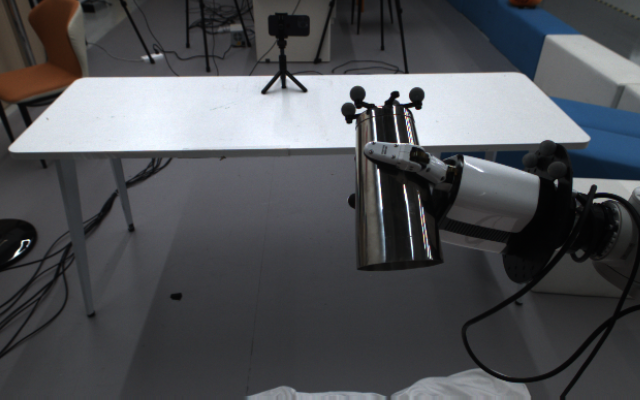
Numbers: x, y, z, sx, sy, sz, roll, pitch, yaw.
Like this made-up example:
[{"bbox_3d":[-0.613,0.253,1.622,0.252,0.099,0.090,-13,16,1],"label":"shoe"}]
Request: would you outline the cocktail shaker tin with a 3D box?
[{"bbox_3d":[0.080,-0.012,0.533,0.093,0.093,0.170,-3,76,-8],"label":"cocktail shaker tin"}]
